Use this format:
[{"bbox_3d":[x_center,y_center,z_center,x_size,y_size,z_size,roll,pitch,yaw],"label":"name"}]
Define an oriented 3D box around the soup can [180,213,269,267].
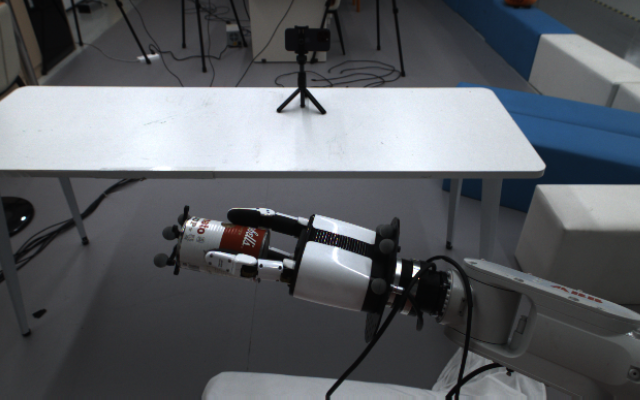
[{"bbox_3d":[-0.117,0.063,0.606,0.101,0.067,0.067,11,35,0],"label":"soup can"}]
